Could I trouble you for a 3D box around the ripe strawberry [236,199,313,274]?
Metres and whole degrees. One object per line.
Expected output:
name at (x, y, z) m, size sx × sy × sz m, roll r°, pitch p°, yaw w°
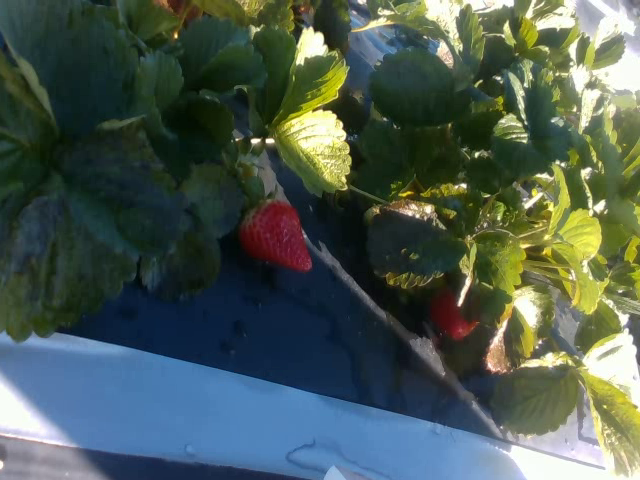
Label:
ripe strawberry at (-0.023, 0.000, 0.364) m, size 0.045 × 0.058 × 0.042 m, roll -36°, pitch 0°, yaw -14°
